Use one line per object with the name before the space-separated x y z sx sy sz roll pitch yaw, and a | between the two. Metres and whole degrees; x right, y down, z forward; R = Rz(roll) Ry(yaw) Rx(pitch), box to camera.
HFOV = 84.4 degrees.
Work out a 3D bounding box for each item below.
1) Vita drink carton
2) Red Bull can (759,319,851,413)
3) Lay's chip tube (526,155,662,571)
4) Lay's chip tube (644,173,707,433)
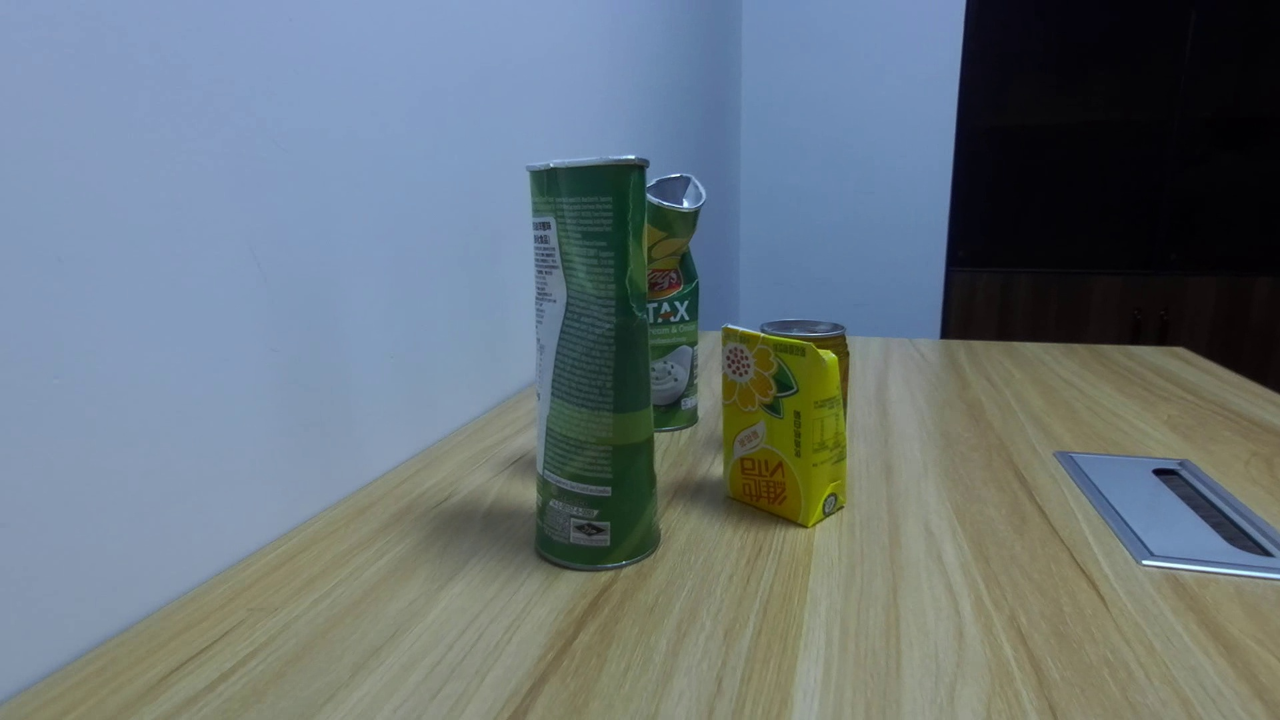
Vita drink carton | 0.086 0.033 0.414 0.047 0.109 0.071 -15 20 -40
Red Bull can | 0.118 0.020 0.516 0.067 0.093 0.067 0 13 0
Lay's chip tube | -0.025 0.002 0.363 0.074 0.199 0.069 3 14 16
Lay's chip tube | 0.020 -0.042 0.558 0.079 0.199 0.070 -13 25 -35
